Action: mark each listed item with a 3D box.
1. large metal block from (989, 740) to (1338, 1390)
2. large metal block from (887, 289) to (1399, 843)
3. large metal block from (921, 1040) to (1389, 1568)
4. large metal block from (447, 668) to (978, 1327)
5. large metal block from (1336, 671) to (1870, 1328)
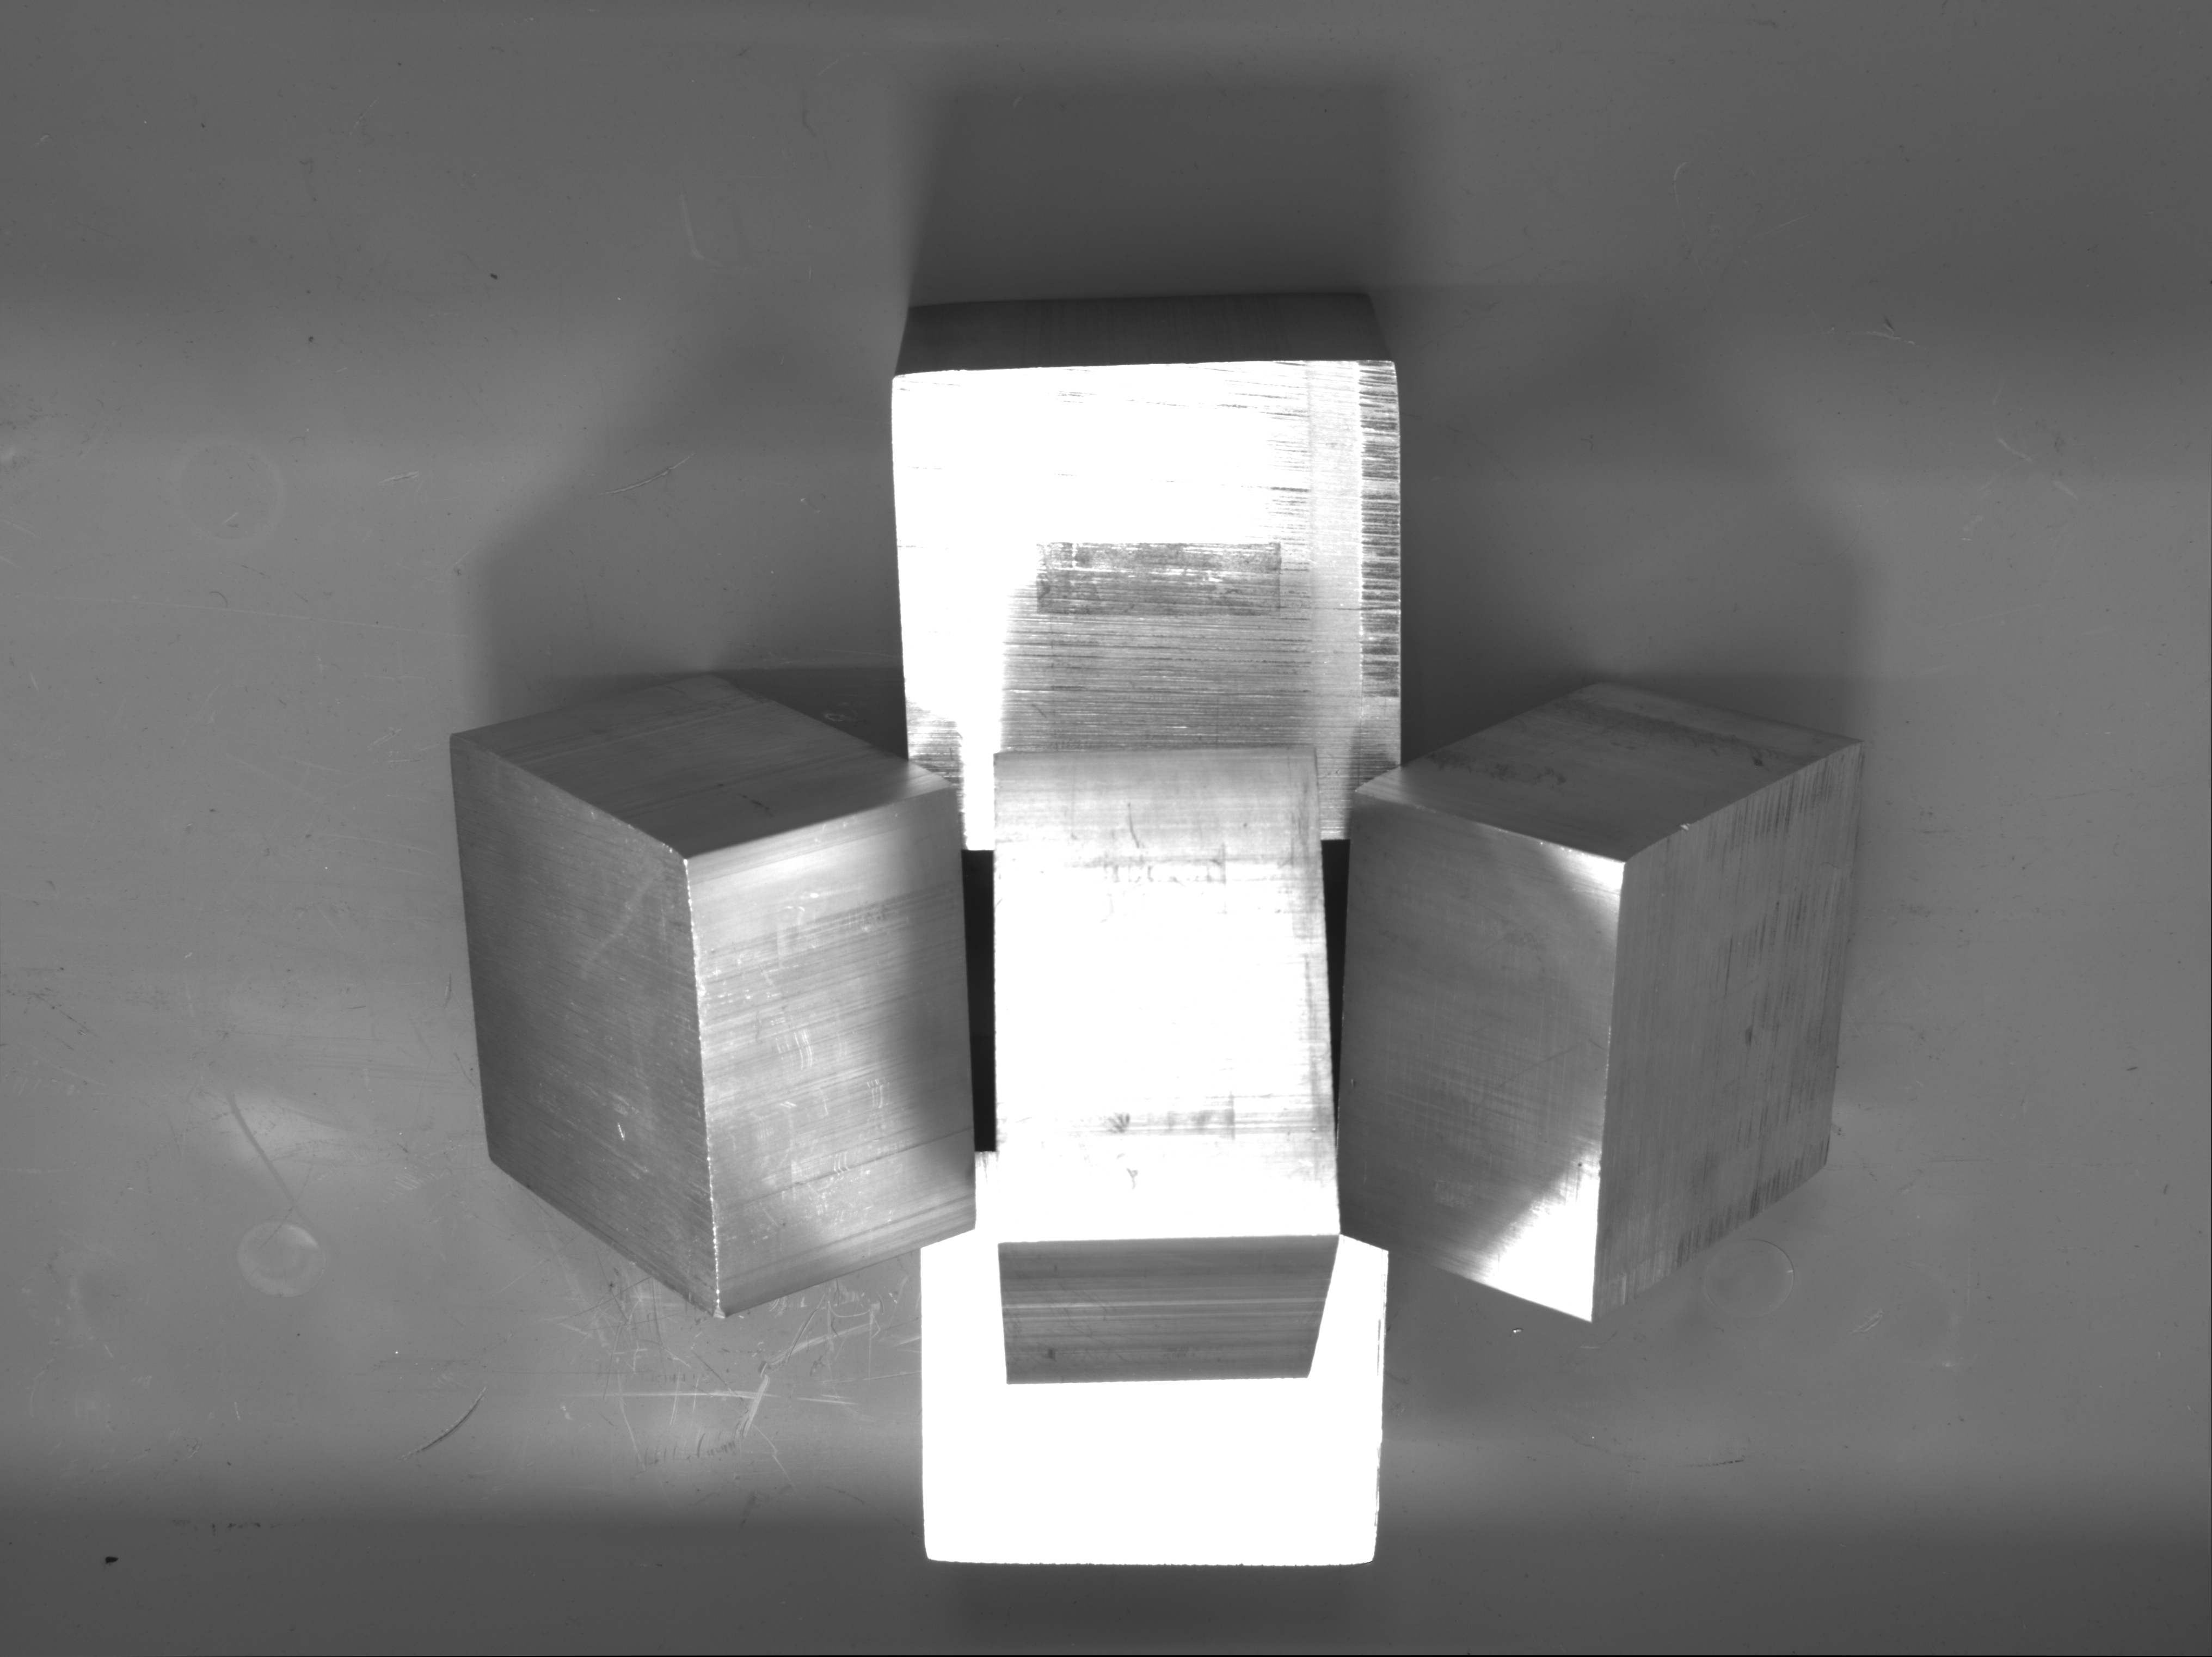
[{"bbox_3d":[0.008,0.040,0.585,0.050,0.080,0.080,-1,66,-1],"label":"large metal block"},{"bbox_3d":[0.007,-0.044,0.610,0.080,0.050,0.080,-1,110,1],"label":"large metal block"},{"bbox_3d":[0.008,0.085,0.660,0.080,0.050,0.080,1,110,0],"label":"large metal block"},{"bbox_3d":[-0.066,0.026,0.614,0.050,0.080,0.080,-16,115,-33],"label":"large metal block"},{"bbox_3d":[0.083,0.026,0.615,0.050,0.080,0.080,16,115,36],"label":"large metal block"}]
